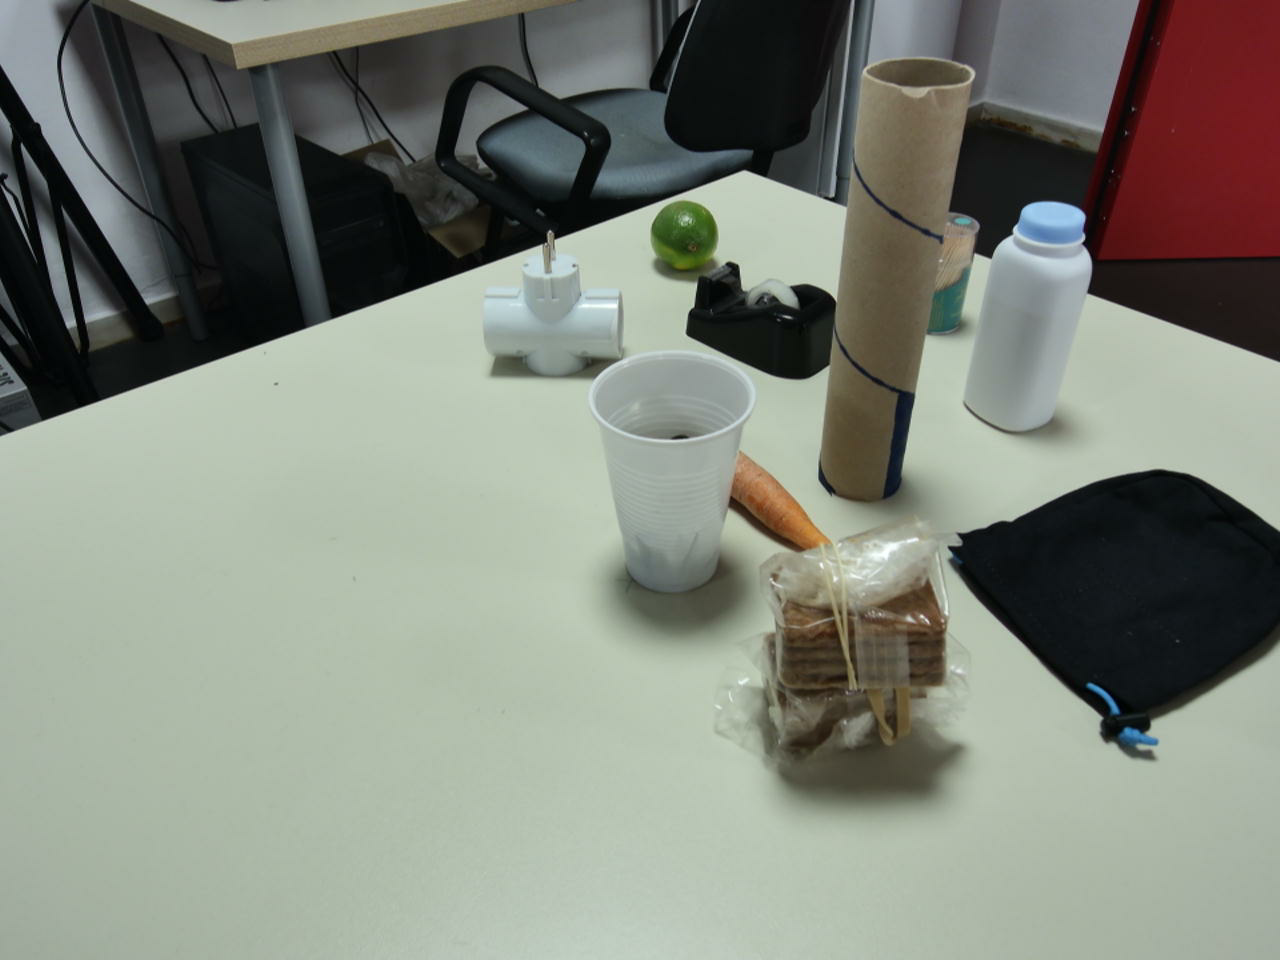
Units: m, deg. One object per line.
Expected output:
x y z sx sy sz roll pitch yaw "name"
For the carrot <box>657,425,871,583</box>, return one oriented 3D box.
0.068 0.008 0.555 0.031 0.029 0.163 -26 44 -31 "carrot"
